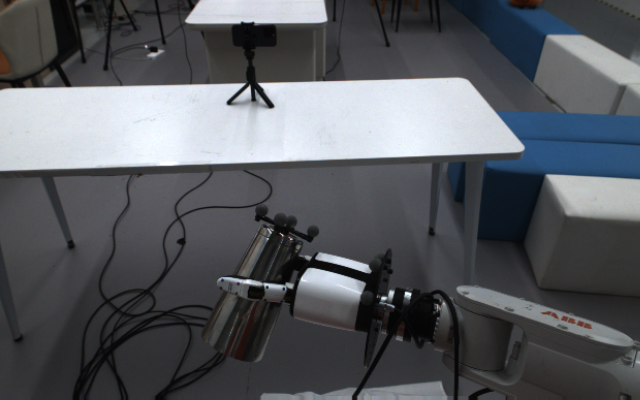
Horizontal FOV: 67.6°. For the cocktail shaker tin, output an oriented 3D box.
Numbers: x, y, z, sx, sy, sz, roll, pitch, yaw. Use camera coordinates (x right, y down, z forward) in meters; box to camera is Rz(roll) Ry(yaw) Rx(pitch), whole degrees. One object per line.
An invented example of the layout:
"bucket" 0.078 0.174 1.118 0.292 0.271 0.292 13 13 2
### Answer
"cocktail shaker tin" -0.085 0.121 0.670 0.093 0.170 0.093 23 0 0
